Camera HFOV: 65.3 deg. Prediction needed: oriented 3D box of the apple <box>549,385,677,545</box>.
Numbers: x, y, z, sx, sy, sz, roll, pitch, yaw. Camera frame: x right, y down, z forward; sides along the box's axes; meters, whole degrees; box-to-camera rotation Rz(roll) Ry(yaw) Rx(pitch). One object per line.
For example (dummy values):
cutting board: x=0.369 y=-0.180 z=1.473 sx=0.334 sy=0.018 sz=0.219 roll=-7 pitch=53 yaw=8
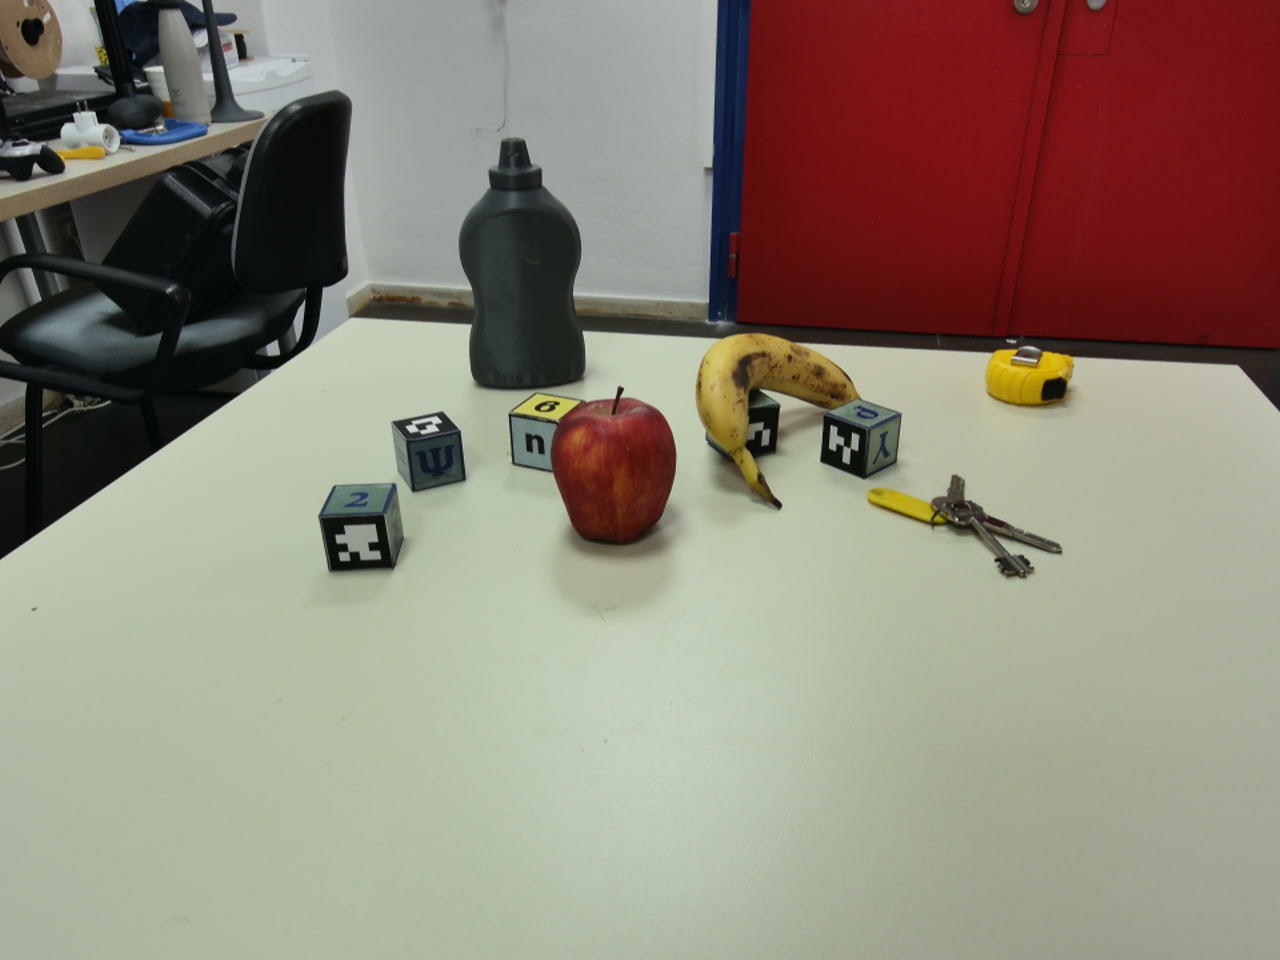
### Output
apple: x=-0.017 y=-0.013 z=0.593 sx=0.083 sy=0.090 sz=0.083 roll=-1 pitch=26 yaw=1
